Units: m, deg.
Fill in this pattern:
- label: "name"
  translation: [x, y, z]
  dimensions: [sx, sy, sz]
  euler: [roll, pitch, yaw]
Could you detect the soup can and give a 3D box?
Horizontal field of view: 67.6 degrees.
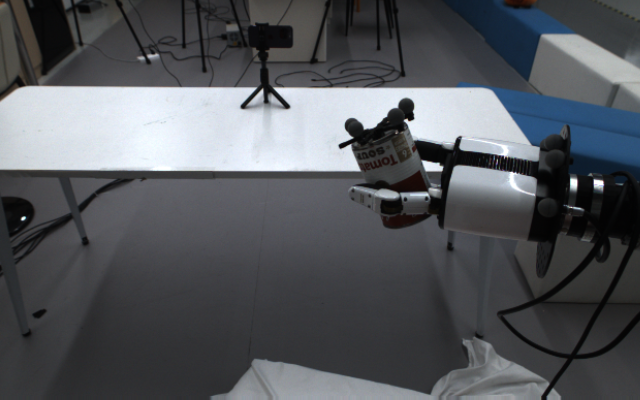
- label: "soup can"
  translation: [0.086, -0.029, 0.546]
  dimensions: [0.067, 0.101, 0.067]
  euler: [-23, 16, 7]
